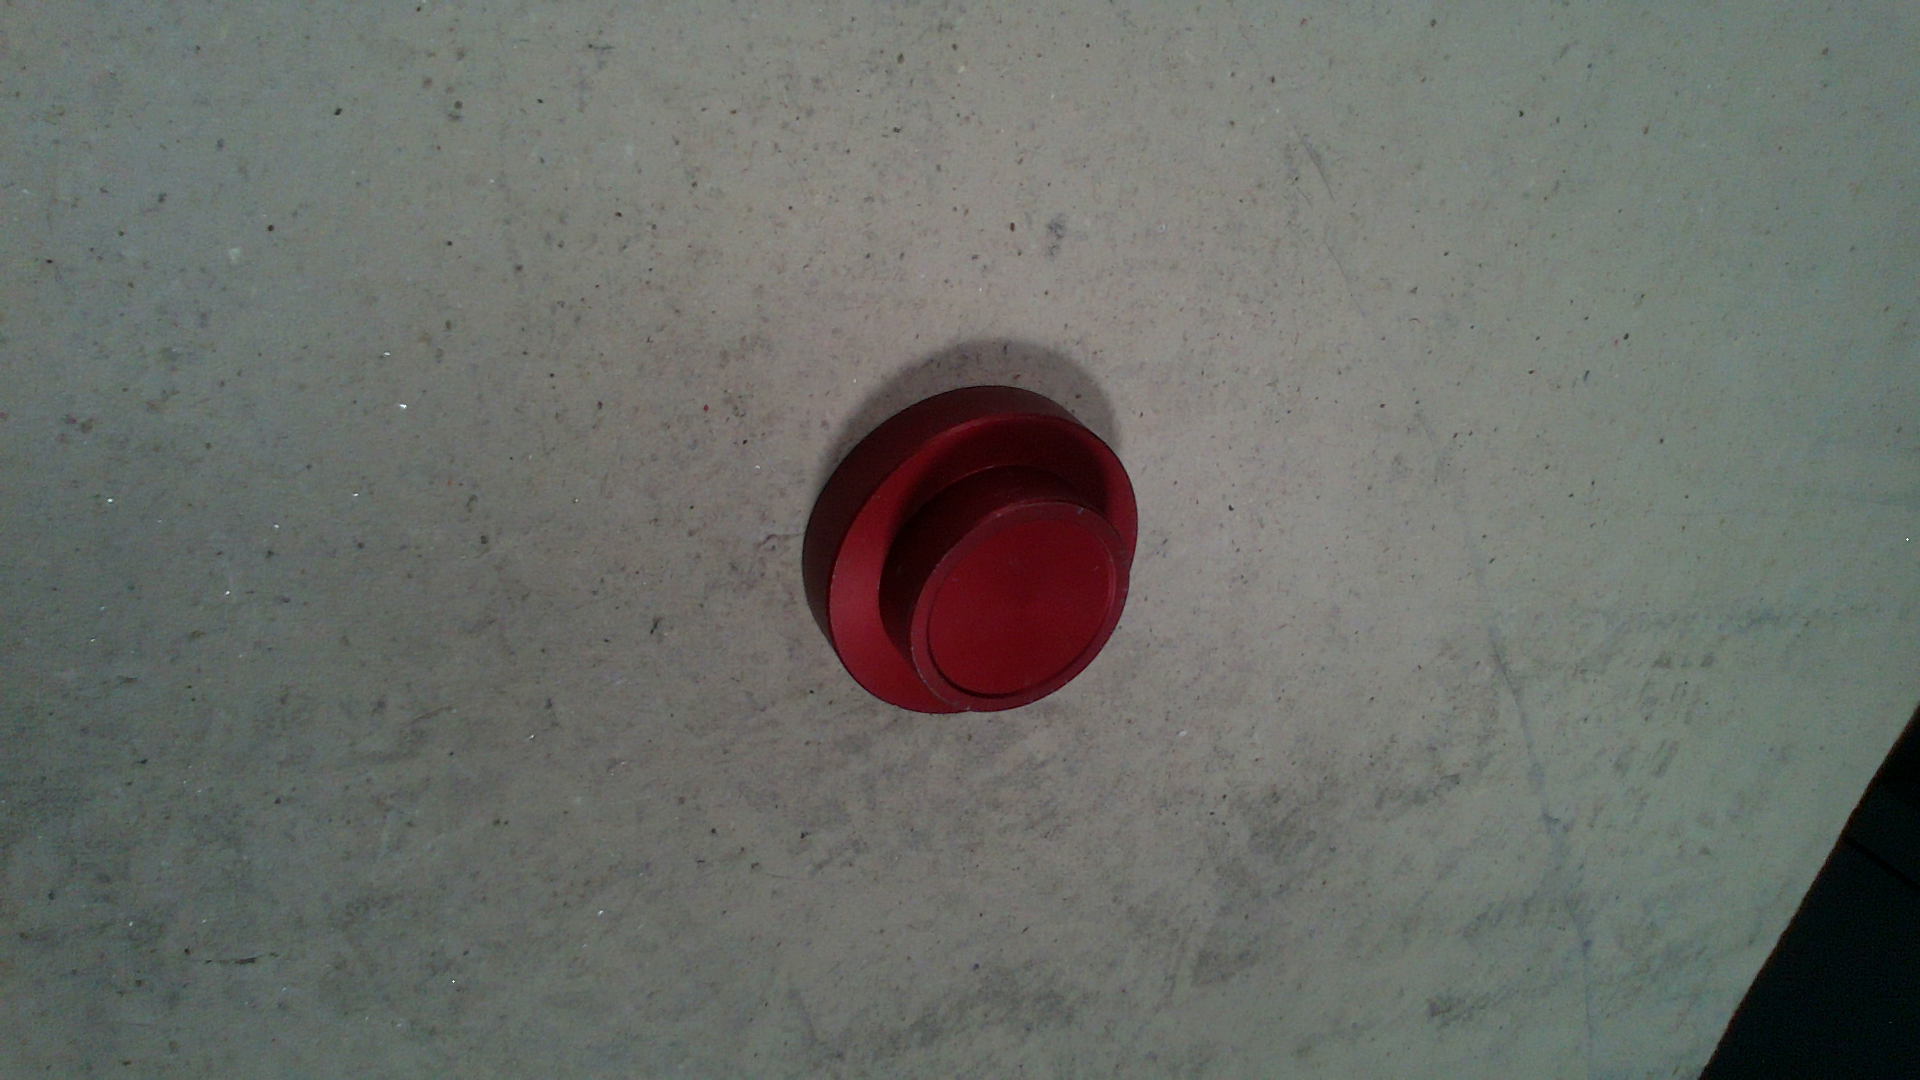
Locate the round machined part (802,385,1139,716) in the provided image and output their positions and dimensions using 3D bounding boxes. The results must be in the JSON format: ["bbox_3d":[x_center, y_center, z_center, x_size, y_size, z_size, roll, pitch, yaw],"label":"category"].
[{"bbox_3d":[0.009,0.010,0.388,0.098,0.042,0.098,-14,124,-21],"label":"round machined part"}]
